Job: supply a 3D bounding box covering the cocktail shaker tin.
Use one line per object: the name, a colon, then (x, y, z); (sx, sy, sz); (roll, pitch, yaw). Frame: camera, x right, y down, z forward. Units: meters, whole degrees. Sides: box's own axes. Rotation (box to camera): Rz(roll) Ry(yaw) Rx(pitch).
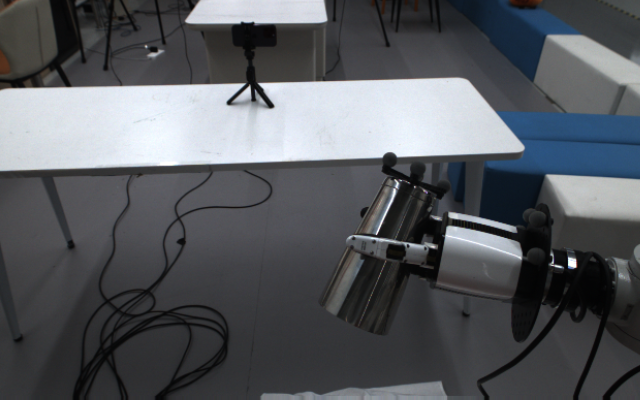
cocktail shaker tin: (0.077, 0.060, 0.579); (0.093, 0.170, 0.093); (23, 0, 0)
